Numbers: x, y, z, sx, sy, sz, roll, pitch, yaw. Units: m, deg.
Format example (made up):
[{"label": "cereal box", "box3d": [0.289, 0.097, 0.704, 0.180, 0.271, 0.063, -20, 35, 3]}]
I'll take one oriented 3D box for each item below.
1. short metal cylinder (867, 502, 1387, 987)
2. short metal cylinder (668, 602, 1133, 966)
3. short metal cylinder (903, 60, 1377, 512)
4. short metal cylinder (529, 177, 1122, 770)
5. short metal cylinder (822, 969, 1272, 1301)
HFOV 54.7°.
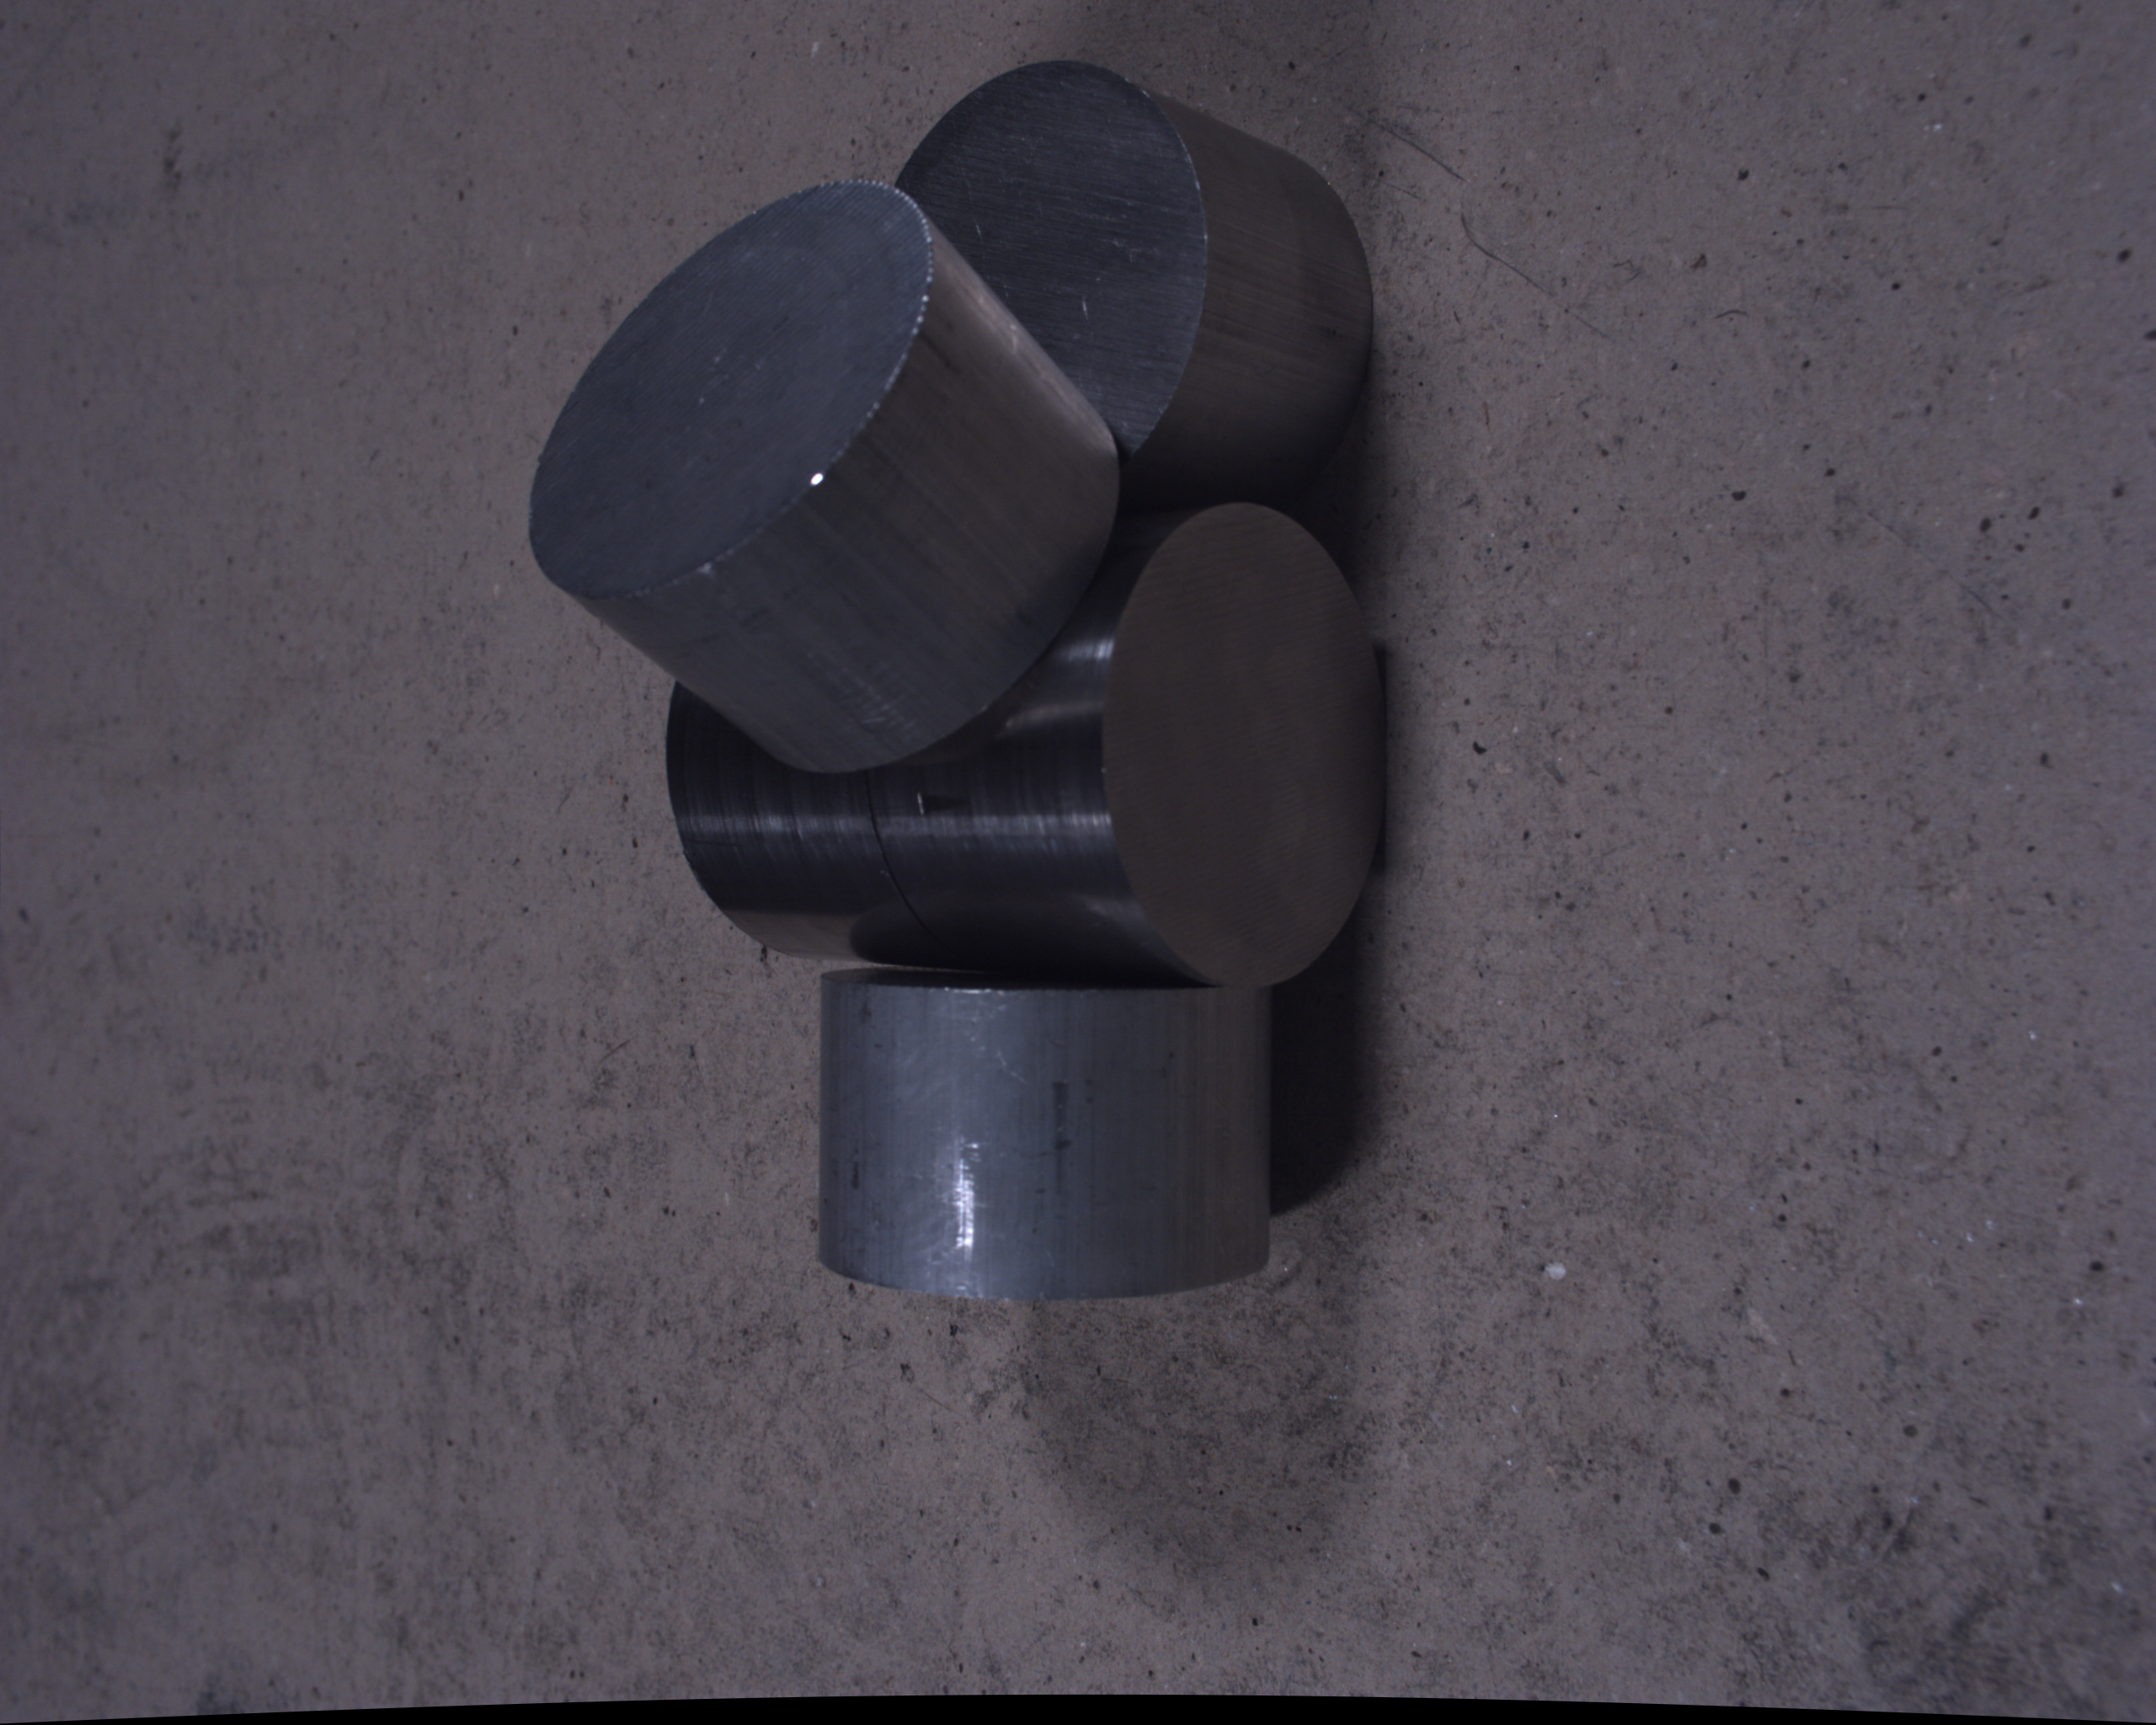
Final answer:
[{"label": "short metal cylinder", "box3d": [0.010, -0.019, 0.360, 0.050, 0.081, 0.079, 0, 90, 40]}, {"label": "short metal cylinder", "box3d": [-0.029, -0.020, 0.393, 0.050, 0.081, 0.079, 1, 91, 39]}, {"label": "short metal cylinder", "box3d": [0.007, -0.099, 0.384, 0.080, 0.050, 0.079, 0, 90, 39]}, {"label": "short metal cylinder", "box3d": [-0.040, -0.062, 0.335, 0.080, 0.050, 0.080, -21, 50, 27]}, {"label": "short metal cylinder", "box3d": [-0.006, 0.045, 0.374, 0.080, 0.081, 0.050, 0, 90, 39]}]
